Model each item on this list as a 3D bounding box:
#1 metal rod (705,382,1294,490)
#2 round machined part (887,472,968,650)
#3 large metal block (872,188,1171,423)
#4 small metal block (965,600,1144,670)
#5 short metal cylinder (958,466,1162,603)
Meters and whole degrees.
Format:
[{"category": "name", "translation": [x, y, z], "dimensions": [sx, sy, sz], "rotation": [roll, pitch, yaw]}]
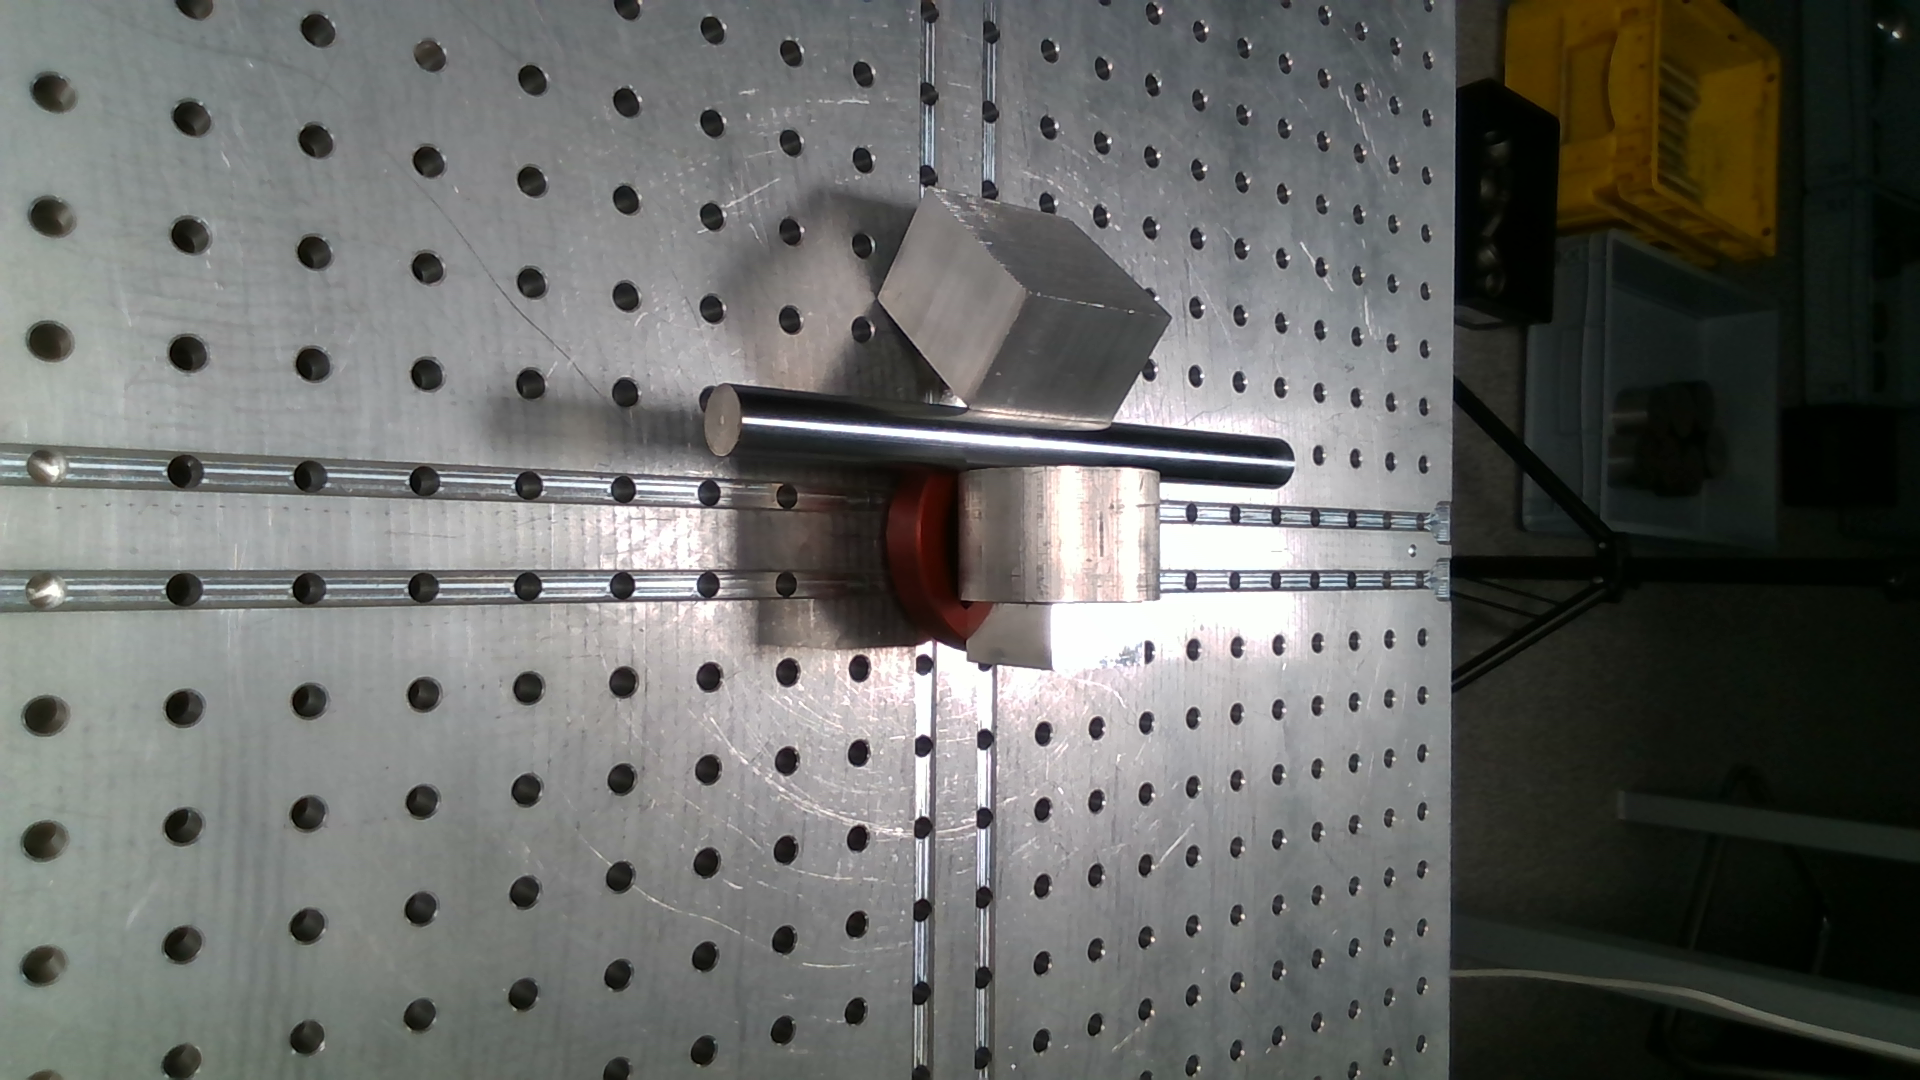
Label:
[{"category": "metal rod", "translation": [0.035, -0.039, 0.561], "dimensions": [0.300, 0.025, 0.025], "rotation": [1, 89, -40]}, {"category": "round machined part", "translation": [0.008, -0.001, 0.580], "dimensions": [0.098, 0.042, 0.098], "rotation": [0, 90, -40]}, {"category": "large metal block", "translation": [0.024, -0.094, 0.563], "dimensions": [0.080, 0.080, 0.050], "rotation": [1, 130, -40]}, {"category": "small metal block", "translation": [0.037, 0.036, 0.546], "dimensions": [0.050, 0.050, 0.025], "rotation": [2, 89, -40]}, {"category": "short metal cylinder", "translation": [0.039, -0.002, 0.544], "dimensions": [0.080, 0.080, 0.050], "rotation": [1, 89, -40]}]
